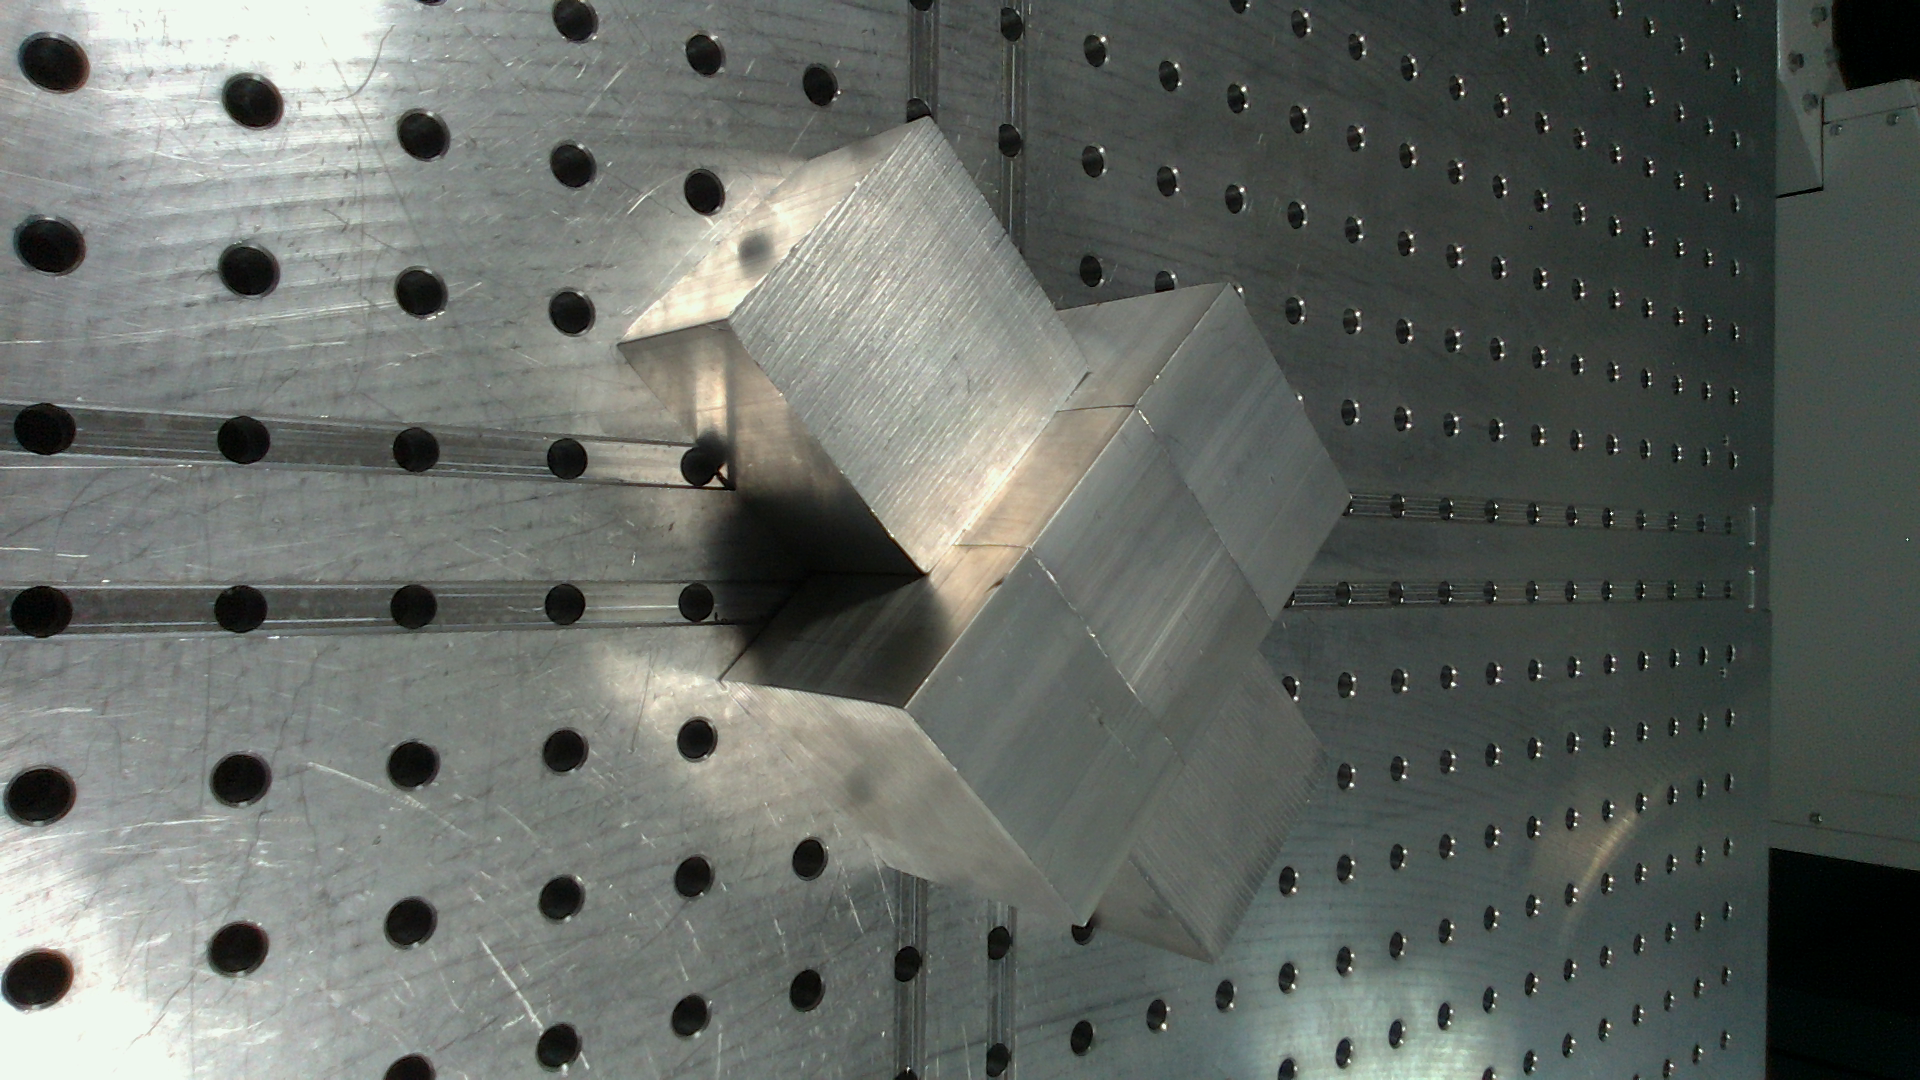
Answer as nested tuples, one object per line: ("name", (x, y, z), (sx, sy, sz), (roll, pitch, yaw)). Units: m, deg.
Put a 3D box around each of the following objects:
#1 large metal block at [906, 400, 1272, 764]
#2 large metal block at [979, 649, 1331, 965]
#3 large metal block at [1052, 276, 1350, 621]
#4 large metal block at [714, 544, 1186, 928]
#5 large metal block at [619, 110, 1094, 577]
("large metal block", (0.024, 0.011, 0.377), (0.050, 0.080, 0.080), (-52, 120, -27))
("large metal block", (0.060, 0.068, 0.425), (0.080, 0.050, 0.080), (-51, 120, -27))
("large metal block", (0.052, -0.024, 0.401), (0.050, 0.080, 0.080), (-52, 120, -27))
("large metal block", (-0.003, 0.047, 0.354), (0.050, 0.080, 0.080), (-52, 120, -27))
("large metal block", (-0.024, -0.048, 0.353), (0.080, 0.050, 0.080), (-52, 120, -26))
